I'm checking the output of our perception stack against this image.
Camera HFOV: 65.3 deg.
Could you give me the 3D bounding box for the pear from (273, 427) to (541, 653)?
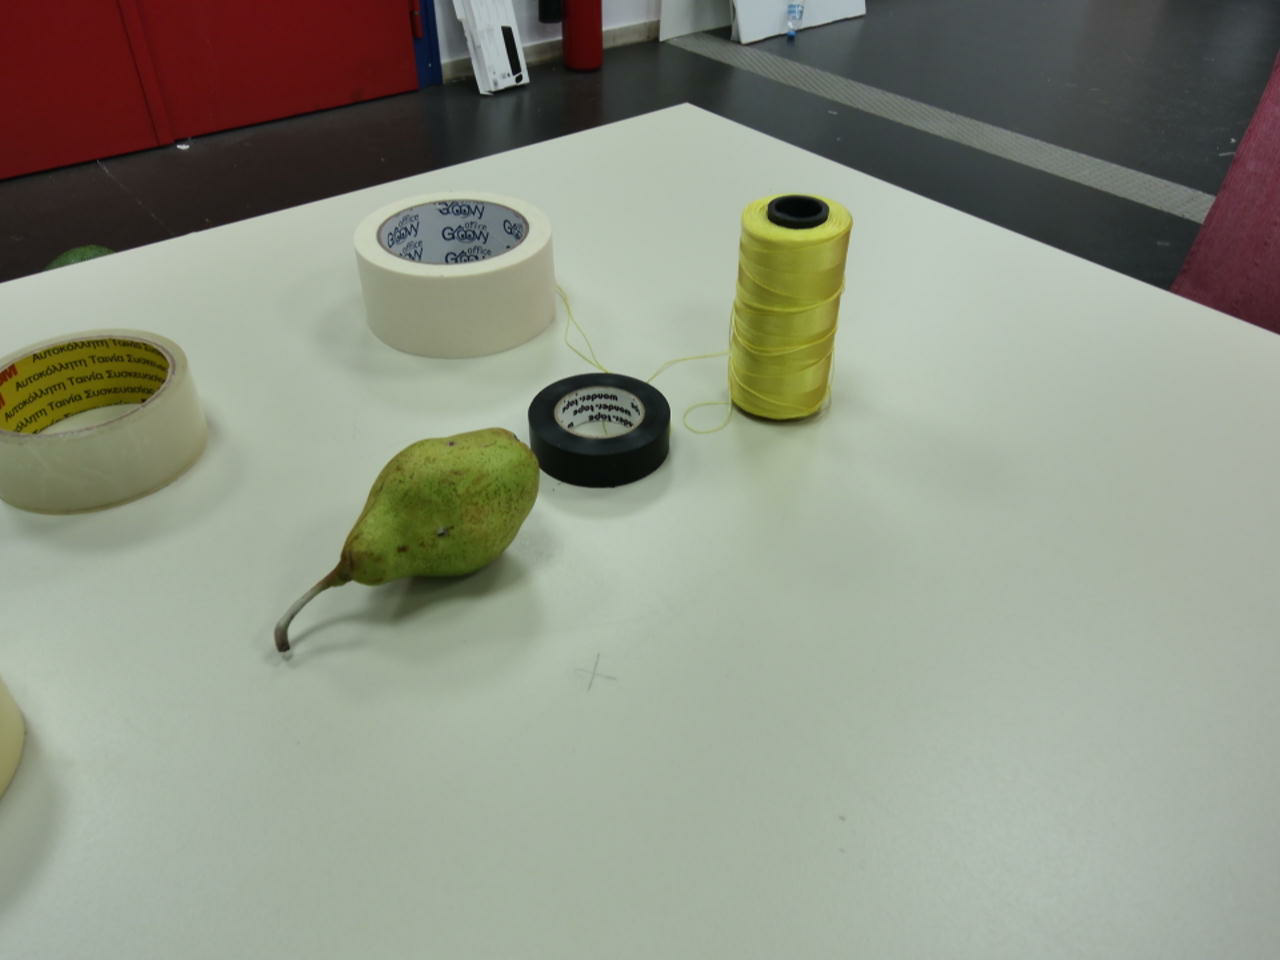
[{"bbox_3d":[-0.092,0.015,0.384,0.111,0.056,0.056,-15,40,-20],"label":"pear"}]
